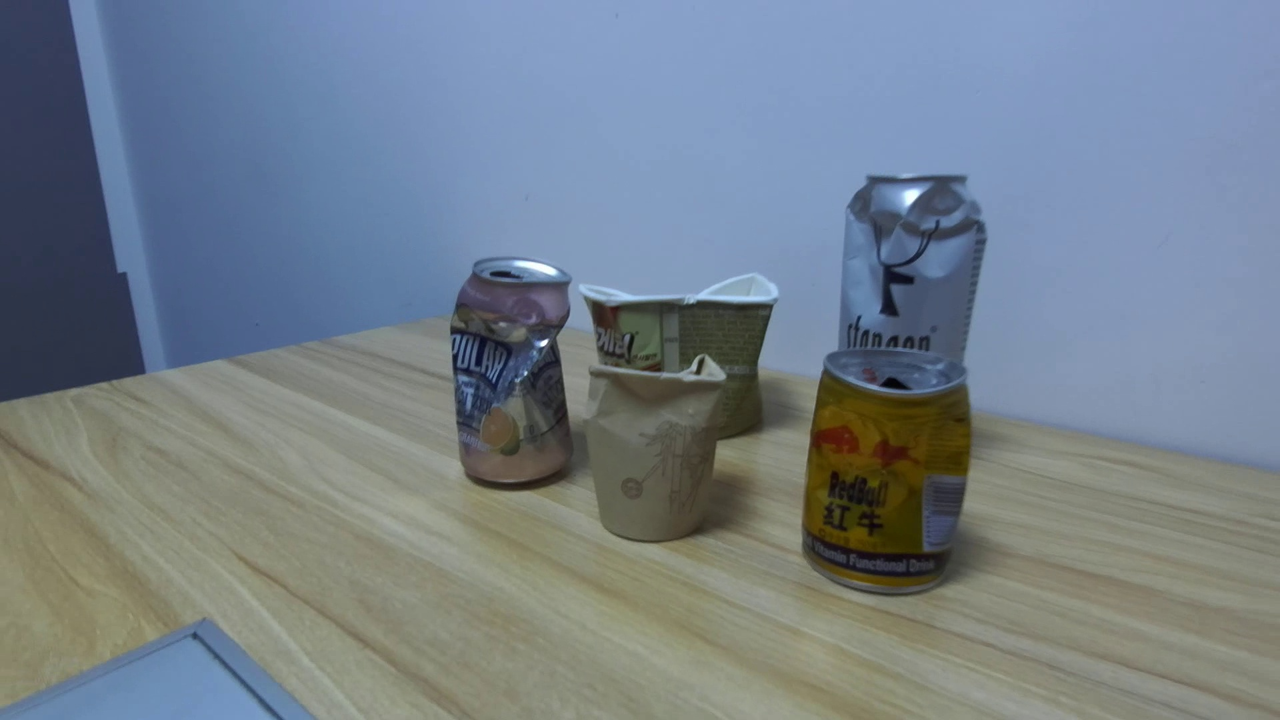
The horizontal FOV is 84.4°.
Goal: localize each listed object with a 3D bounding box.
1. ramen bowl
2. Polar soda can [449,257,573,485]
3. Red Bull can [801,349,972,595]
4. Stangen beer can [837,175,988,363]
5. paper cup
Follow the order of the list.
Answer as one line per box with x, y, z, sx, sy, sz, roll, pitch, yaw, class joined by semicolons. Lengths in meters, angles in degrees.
0.025;-0.006;0.486;0.128;0.093;0.111;-1;16;-2;ramen bowl
-0.066;0.008;0.401;0.067;0.121;0.070;-6;18;-35;Polar soda can
0.114;0.052;0.337;0.072;0.092;0.072;2;14;0;Red Bull can
0.151;-0.020;0.405;0.066;0.166;0.065;-2;15;-13;Stangen beer can
0.009;0.039;0.350;0.066;0.083;0.058;4;14;8;paper cup
